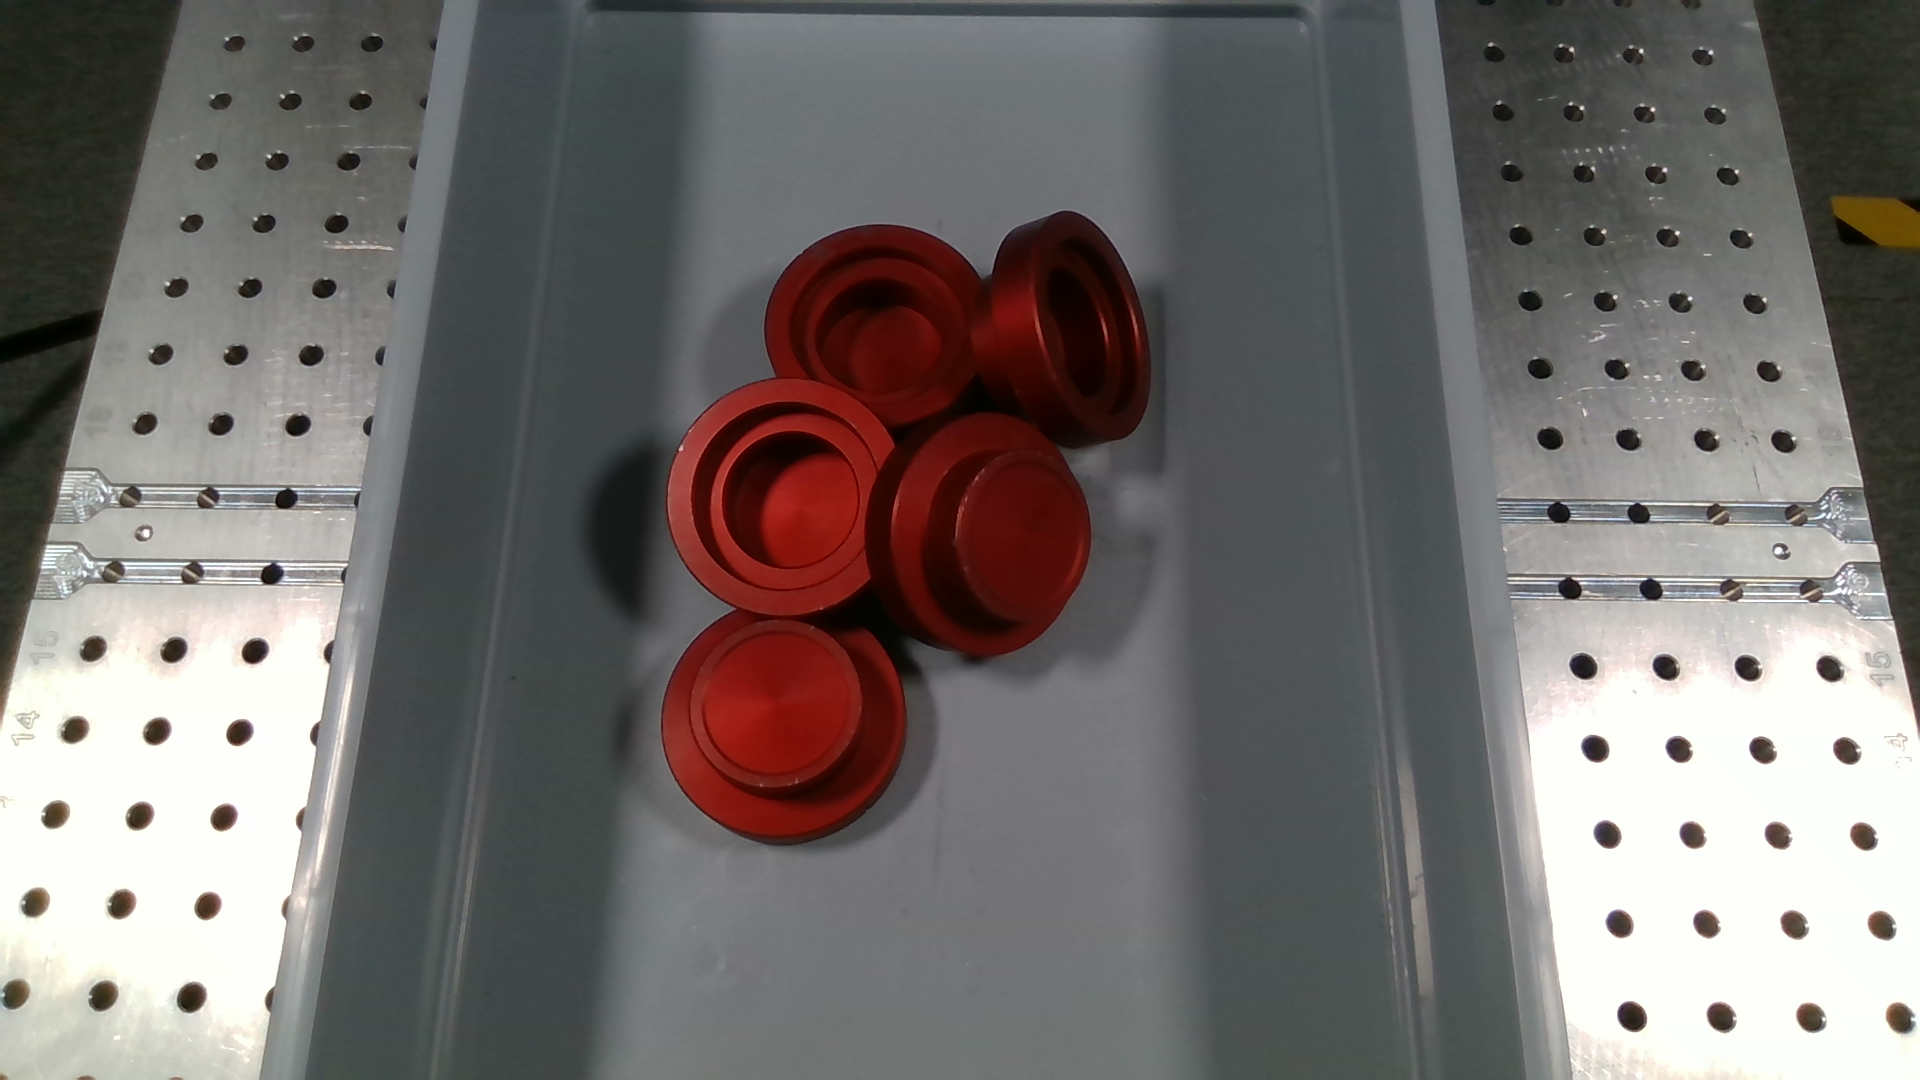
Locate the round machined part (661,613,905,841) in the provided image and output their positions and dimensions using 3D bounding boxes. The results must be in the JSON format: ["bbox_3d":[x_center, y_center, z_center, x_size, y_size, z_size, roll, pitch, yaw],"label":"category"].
[{"bbox_3d":[-0.071,0.069,0.553,0.098,0.042,0.098,0,70,0],"label":"round machined part"}]

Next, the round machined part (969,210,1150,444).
[{"bbox_3d":[0.040,-0.087,0.590,0.042,0.098,0.098,-11,66,34],"label":"round machined part"}]

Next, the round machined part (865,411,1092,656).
[{"bbox_3d":[0.014,-0.003,0.550,0.098,0.042,0.098,-1,92,-37],"label":"round machined part"}]

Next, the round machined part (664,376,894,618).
[{"bbox_3d":[-0.069,-0.015,0.571,0.098,0.042,0.098,-1,83,6],"label":"round machined part"}]

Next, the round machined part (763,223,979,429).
[{"bbox_3d":[-0.035,-0.087,0.608,0.098,0.042,0.098,0,70,0],"label":"round machined part"}]
